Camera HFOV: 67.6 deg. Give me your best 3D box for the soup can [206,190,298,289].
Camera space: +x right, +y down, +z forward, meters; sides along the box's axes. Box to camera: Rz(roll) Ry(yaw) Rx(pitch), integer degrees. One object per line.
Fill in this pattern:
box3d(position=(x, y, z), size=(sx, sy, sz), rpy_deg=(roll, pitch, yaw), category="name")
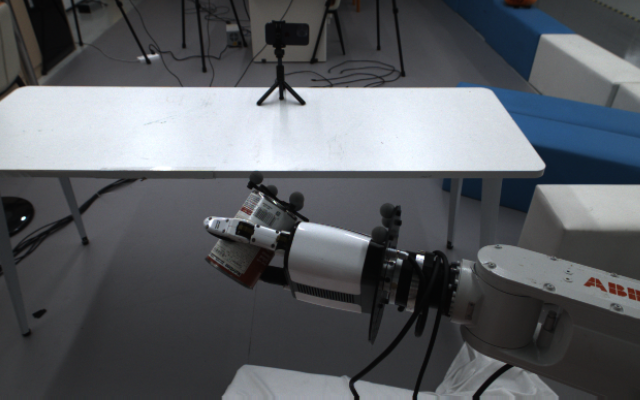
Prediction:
box3d(position=(-0.080, 0.048, 0.585), size=(0.067, 0.067, 0.101), rpy_deg=(27, 78, 31), category="soup can")
